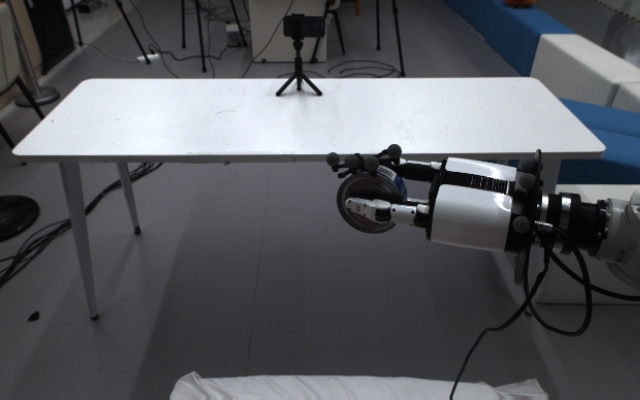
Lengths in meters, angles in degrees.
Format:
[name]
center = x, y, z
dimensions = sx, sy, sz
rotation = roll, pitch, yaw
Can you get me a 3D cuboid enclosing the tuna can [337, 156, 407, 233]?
[tuna can]
center = 0.069, -0.003, 0.618
dimensions = 0.085, 0.085, 0.034
rotation = 13, 29, 15
